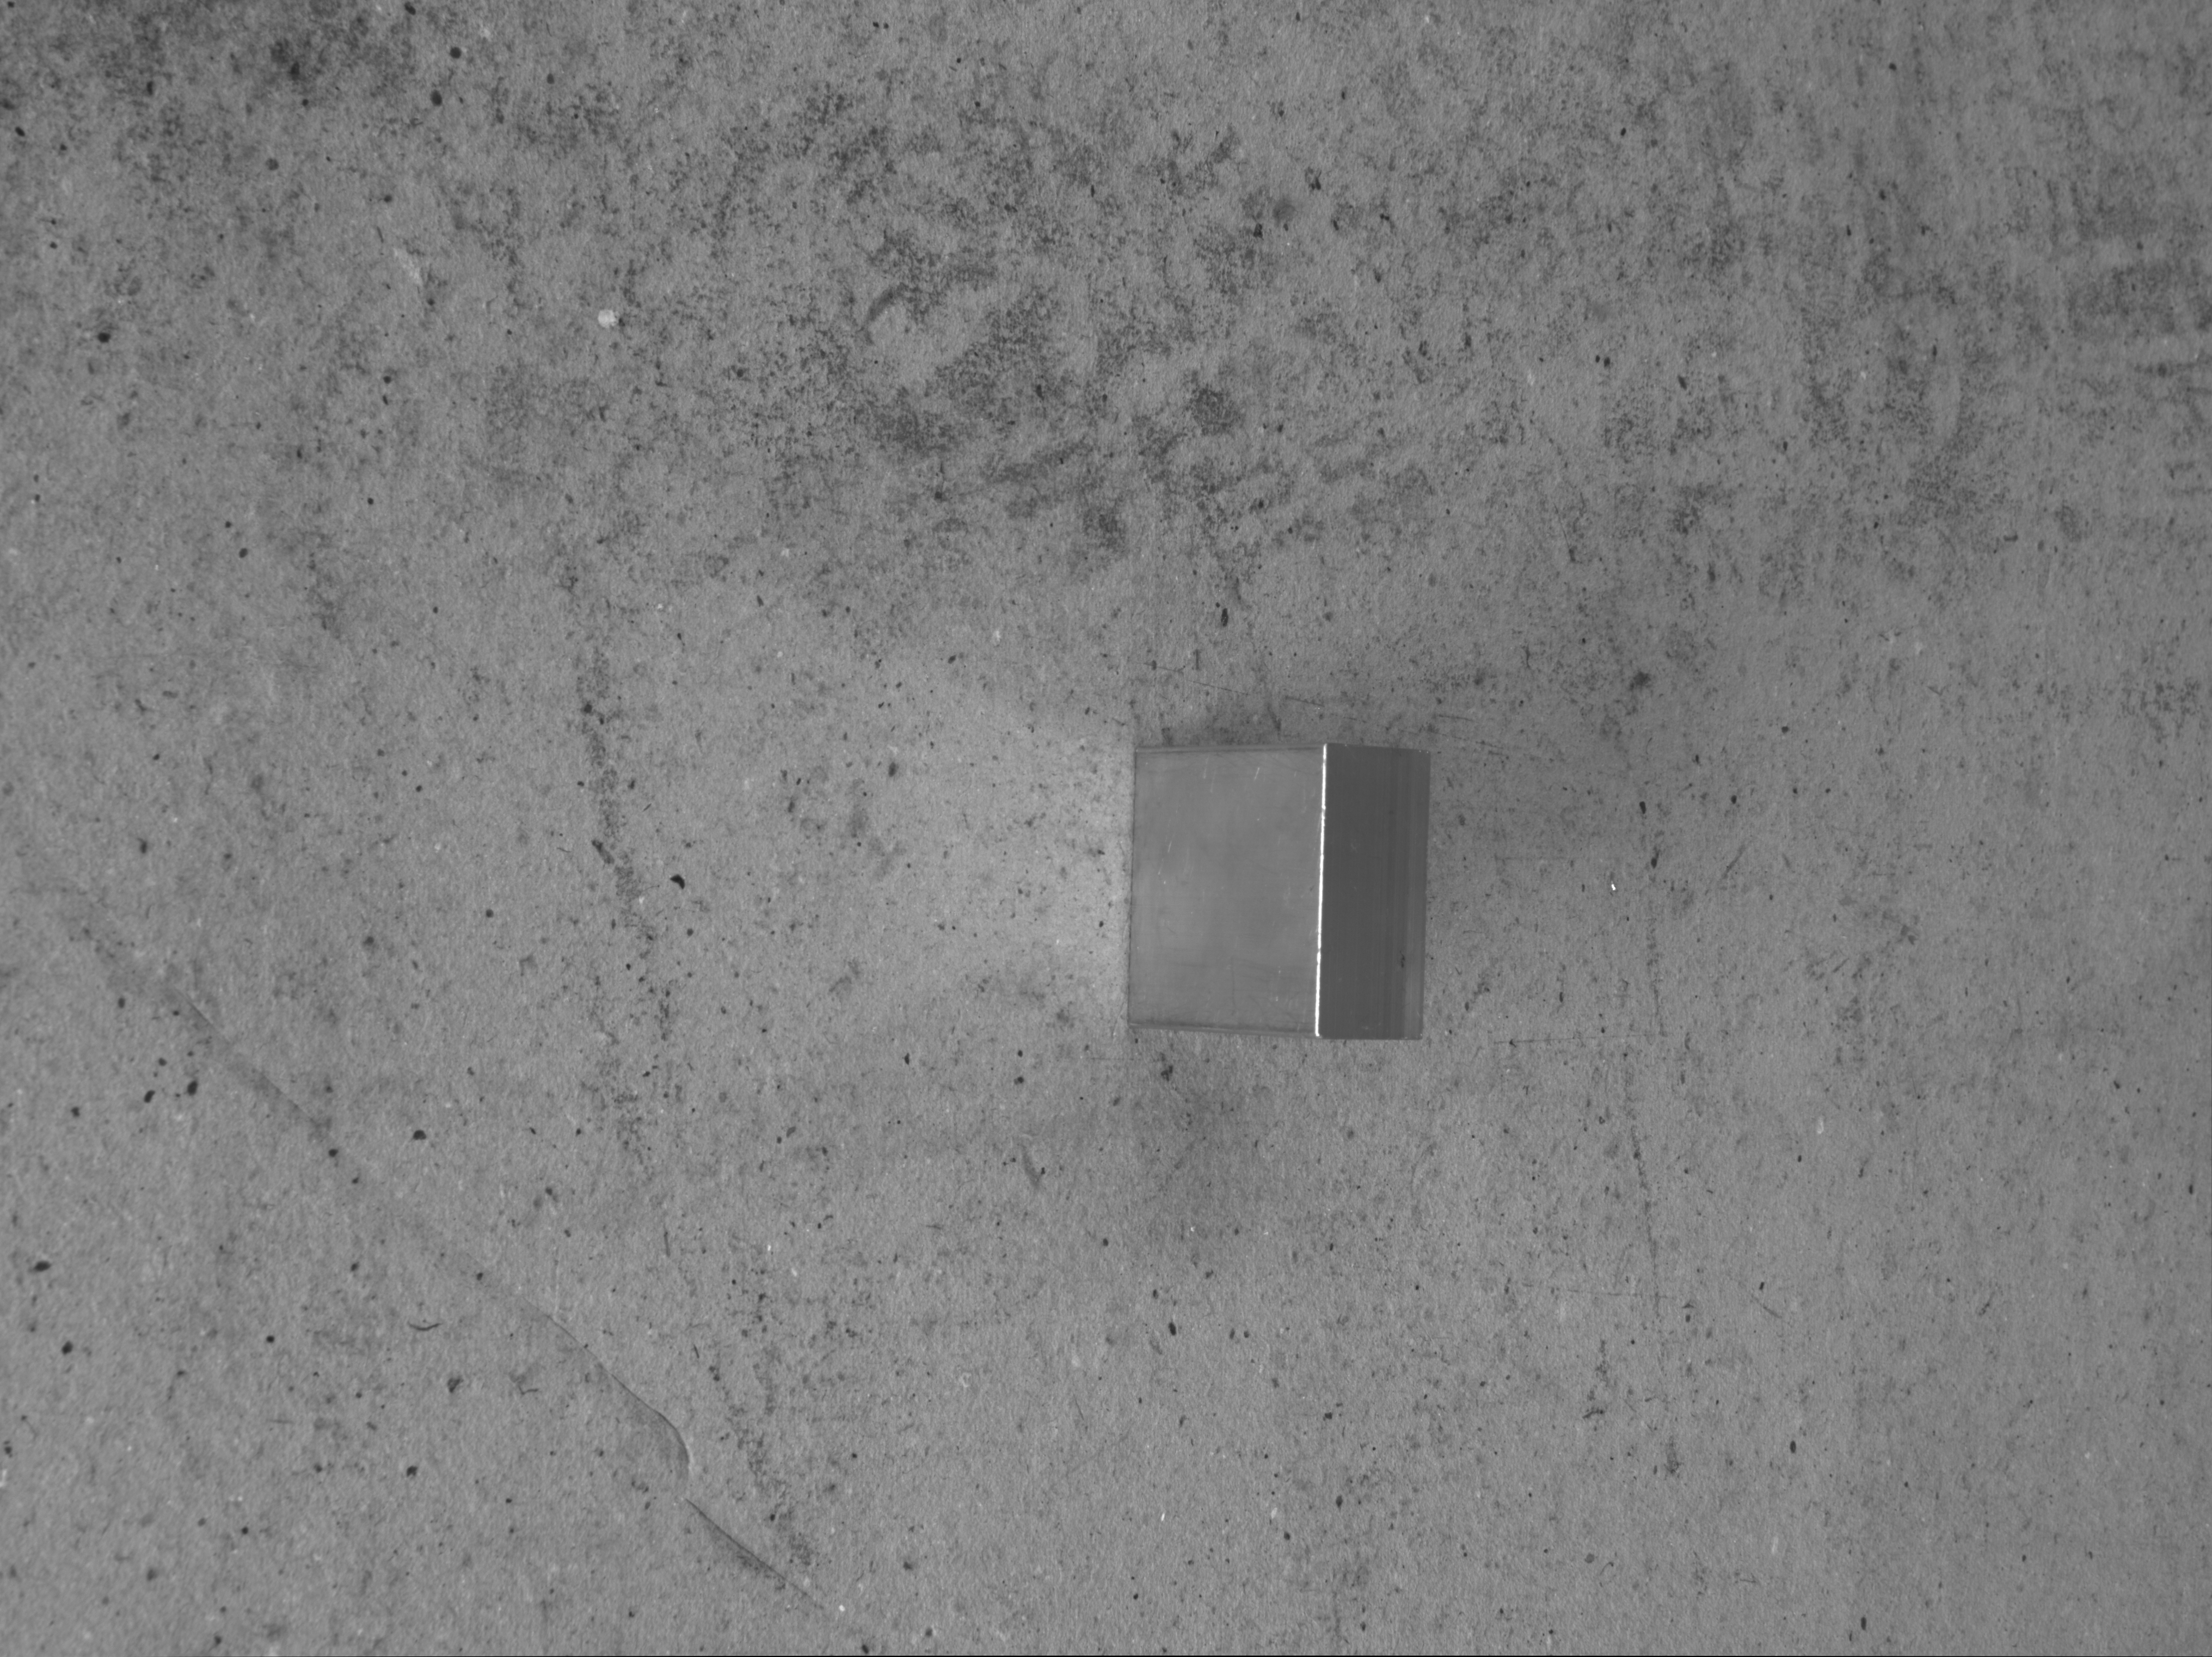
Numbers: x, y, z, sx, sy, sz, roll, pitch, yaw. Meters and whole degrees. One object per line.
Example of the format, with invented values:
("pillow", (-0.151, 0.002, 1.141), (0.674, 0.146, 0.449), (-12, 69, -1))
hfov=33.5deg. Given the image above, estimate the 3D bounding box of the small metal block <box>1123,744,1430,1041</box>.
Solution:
("small metal block", (0.029, 0.011, 0.645), (0.025, 0.050, 0.050), (3, 88, -40))
